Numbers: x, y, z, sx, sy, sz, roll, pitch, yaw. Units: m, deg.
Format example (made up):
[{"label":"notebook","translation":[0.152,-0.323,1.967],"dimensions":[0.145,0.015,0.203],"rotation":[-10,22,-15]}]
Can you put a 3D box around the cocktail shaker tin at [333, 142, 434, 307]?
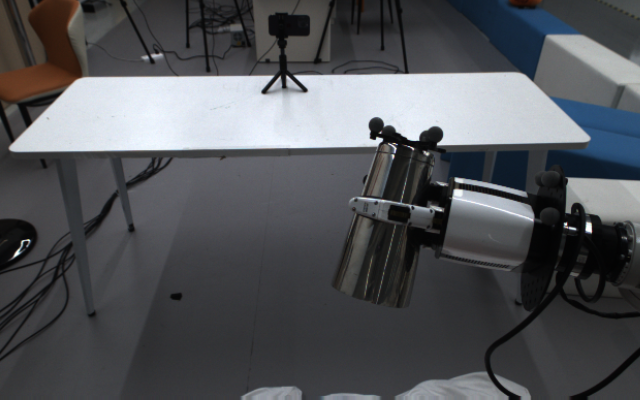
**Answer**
[{"label":"cocktail shaker tin","translation":[0.078,0.025,0.552],"dimensions":[0.093,0.170,0.093],"rotation":[14,2,0]}]
